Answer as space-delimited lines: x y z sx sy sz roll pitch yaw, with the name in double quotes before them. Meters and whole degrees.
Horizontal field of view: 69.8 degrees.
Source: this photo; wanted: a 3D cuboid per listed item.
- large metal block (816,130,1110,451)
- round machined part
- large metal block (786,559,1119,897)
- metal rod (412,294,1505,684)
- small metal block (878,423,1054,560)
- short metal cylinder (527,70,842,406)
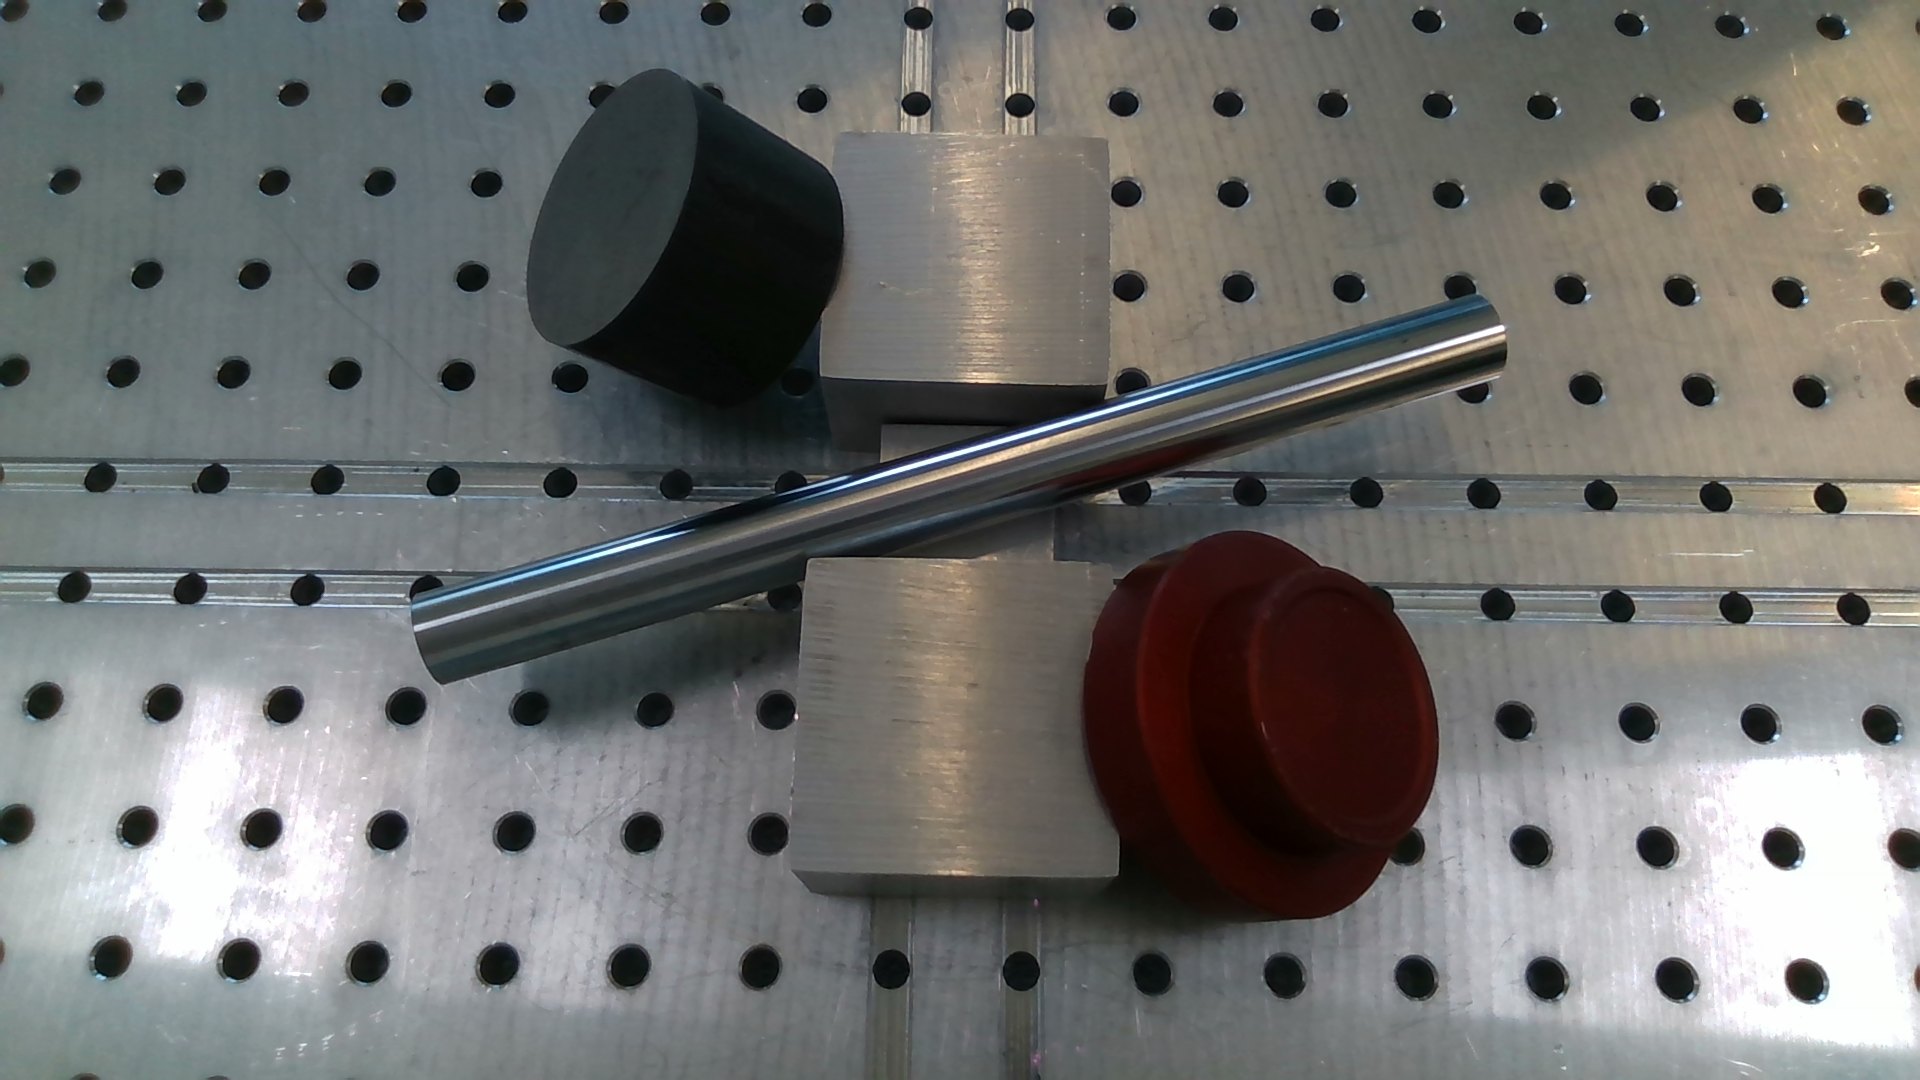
"large metal block" 0.002 -0.072 0.411 0.080 0.050 0.080 2 70 1
"round machined part" 0.081 0.045 0.347 0.098 0.042 0.098 13 67 -33
"large metal block" -0.001 0.052 0.367 0.080 0.050 0.080 1 70 0
"metal rod" 0.005 -0.016 0.376 0.300 0.025 0.025 -16 71 -6
"small metal block" 0.001 -0.006 0.401 0.050 0.025 0.050 1 70 0
"short metal cylinder" -0.079 -0.084 0.392 0.080 0.050 0.080 -19 62 39
